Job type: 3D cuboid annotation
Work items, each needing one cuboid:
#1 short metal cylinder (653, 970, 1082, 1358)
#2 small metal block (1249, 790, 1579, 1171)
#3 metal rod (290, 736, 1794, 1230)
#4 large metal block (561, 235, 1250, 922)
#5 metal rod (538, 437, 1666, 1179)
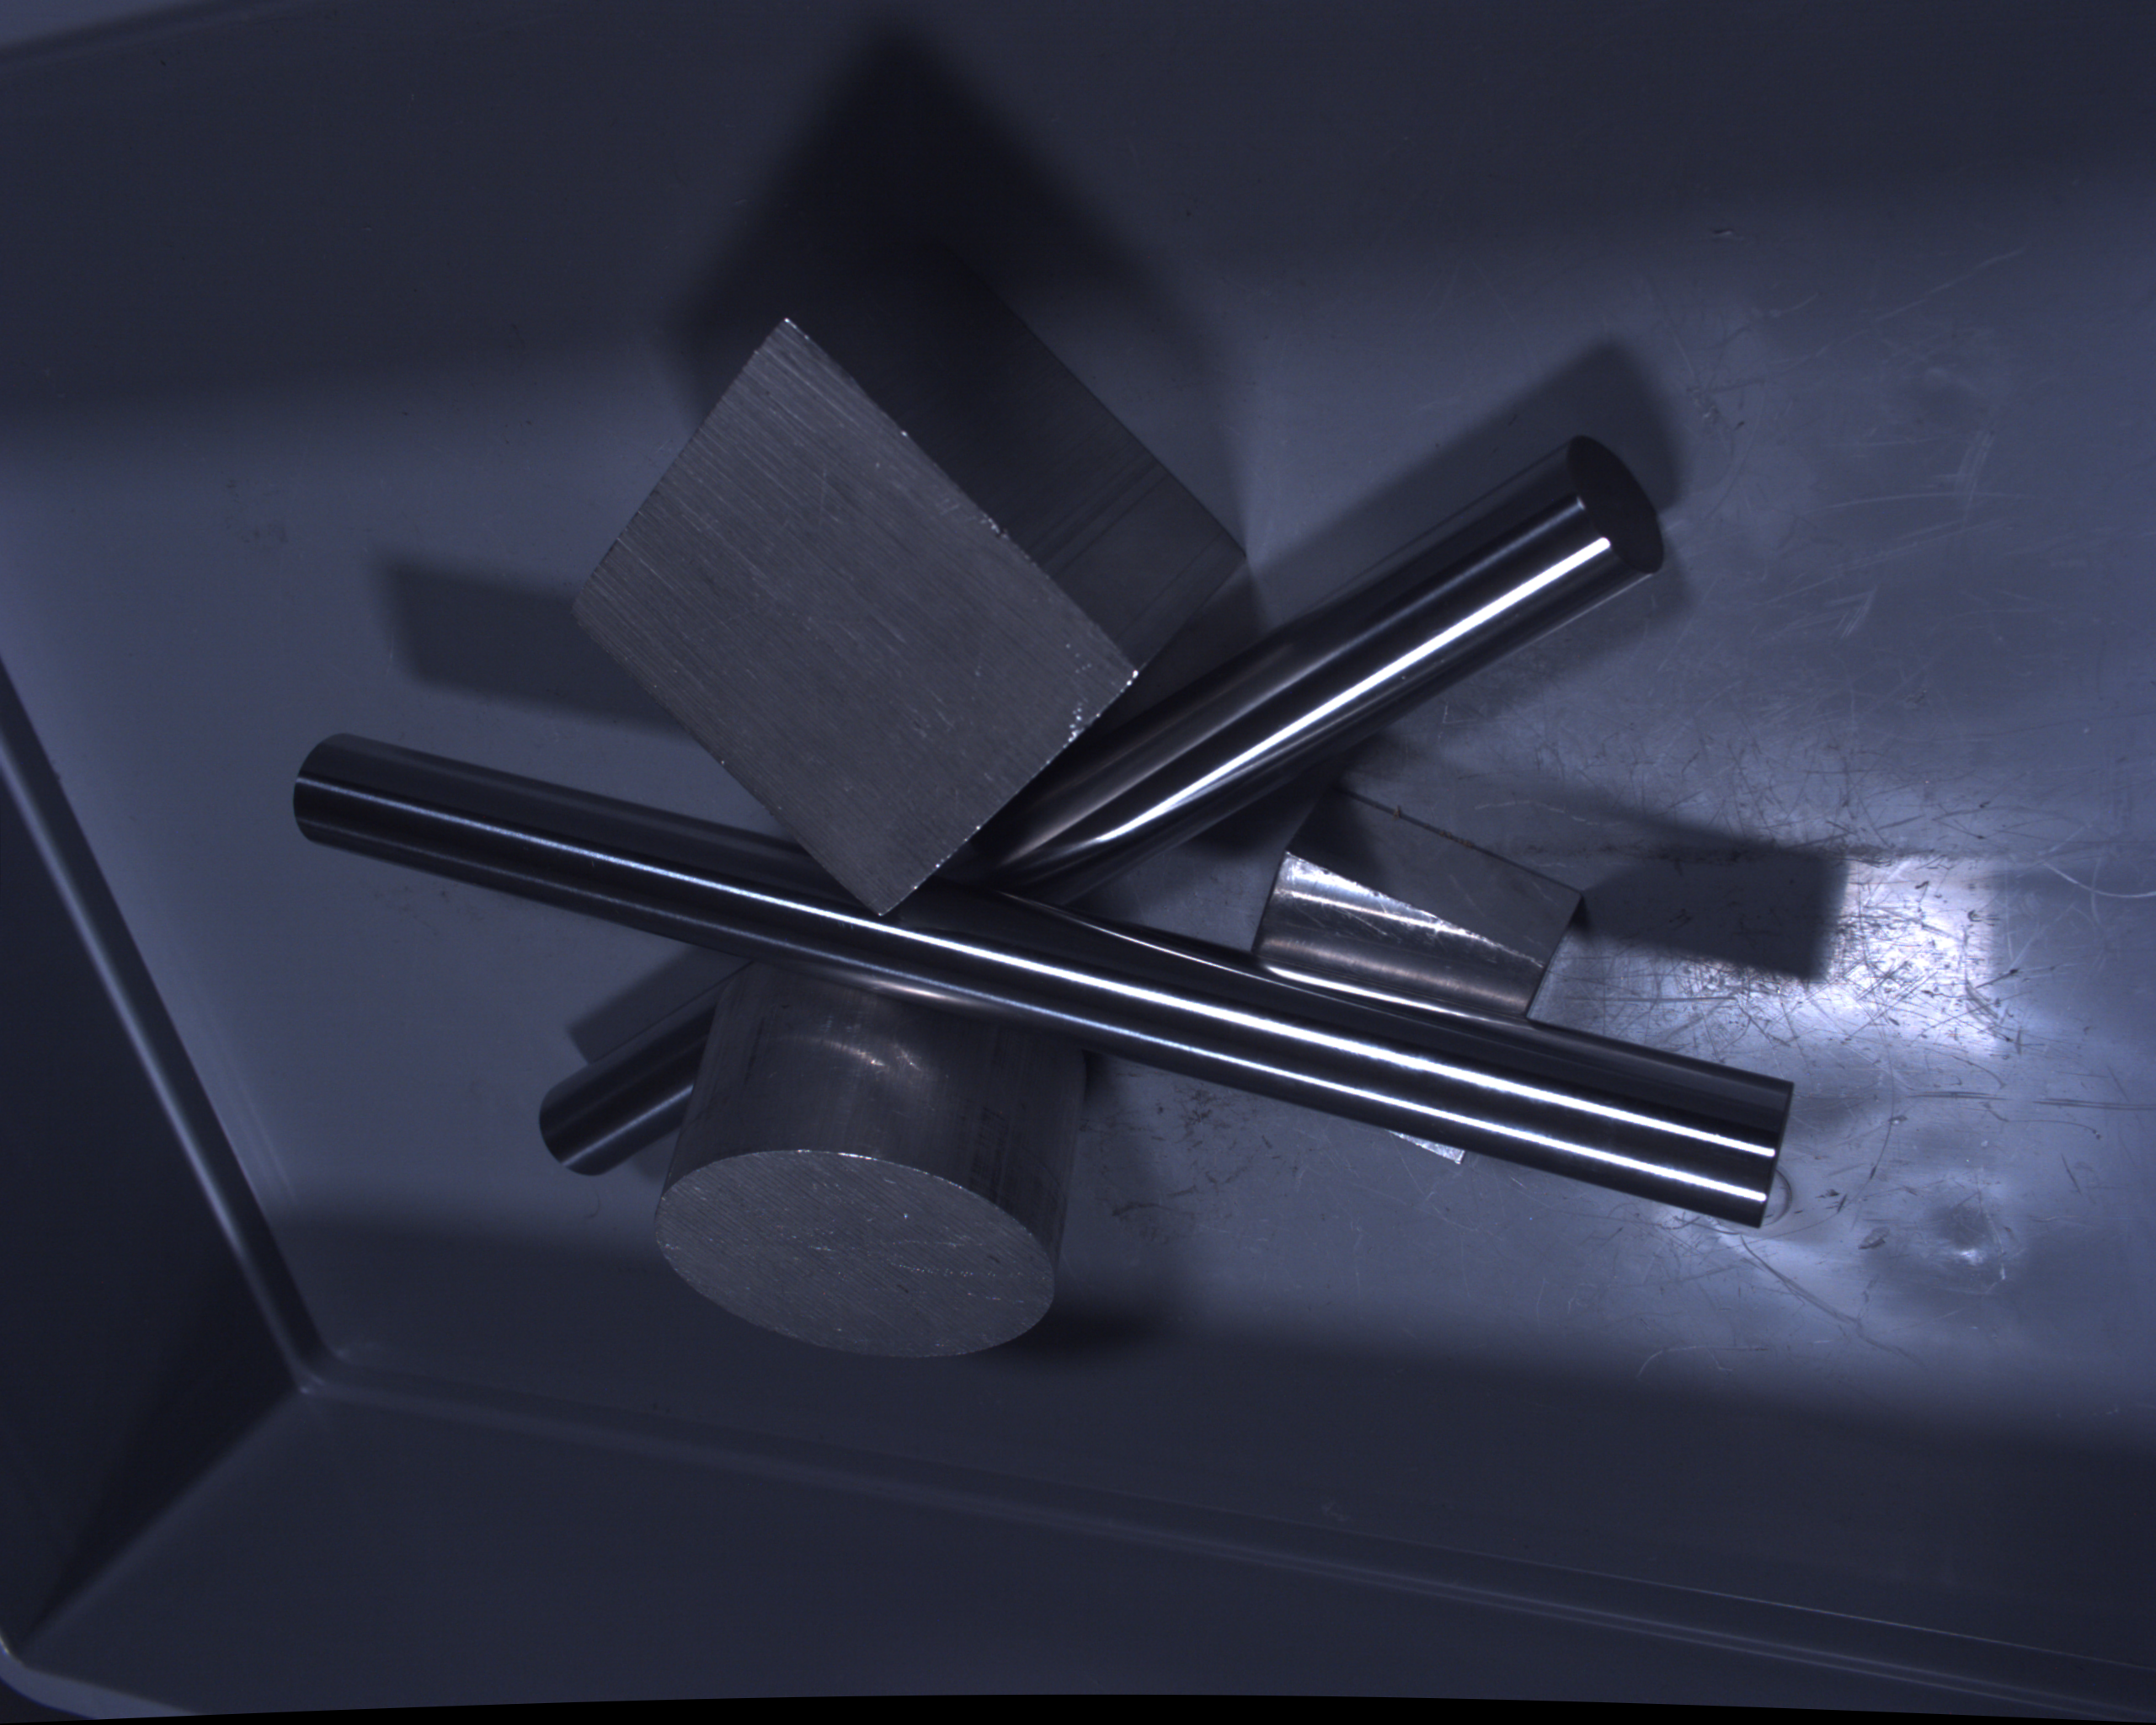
[{"bbox_3d":[-0.042,0.060,0.430,0.080,0.050,0.080,5,140,5],"label":"short metal cylinder"},{"bbox_3d":[0.058,0.022,0.387,0.050,0.025,0.050,24,127,13],"label":"small metal block"},{"bbox_3d":[-0.023,0.017,0.395,0.301,0.025,0.025,13,124,20],"label":"metal rod"},{"bbox_3d":[-0.031,-0.050,0.374,0.080,0.050,0.080,46,129,-4],"label":"large metal block"},{"bbox_3d":[-0.018,0.005,0.417,0.299,0.025,0.025,-31,102,37],"label":"metal rod"}]
